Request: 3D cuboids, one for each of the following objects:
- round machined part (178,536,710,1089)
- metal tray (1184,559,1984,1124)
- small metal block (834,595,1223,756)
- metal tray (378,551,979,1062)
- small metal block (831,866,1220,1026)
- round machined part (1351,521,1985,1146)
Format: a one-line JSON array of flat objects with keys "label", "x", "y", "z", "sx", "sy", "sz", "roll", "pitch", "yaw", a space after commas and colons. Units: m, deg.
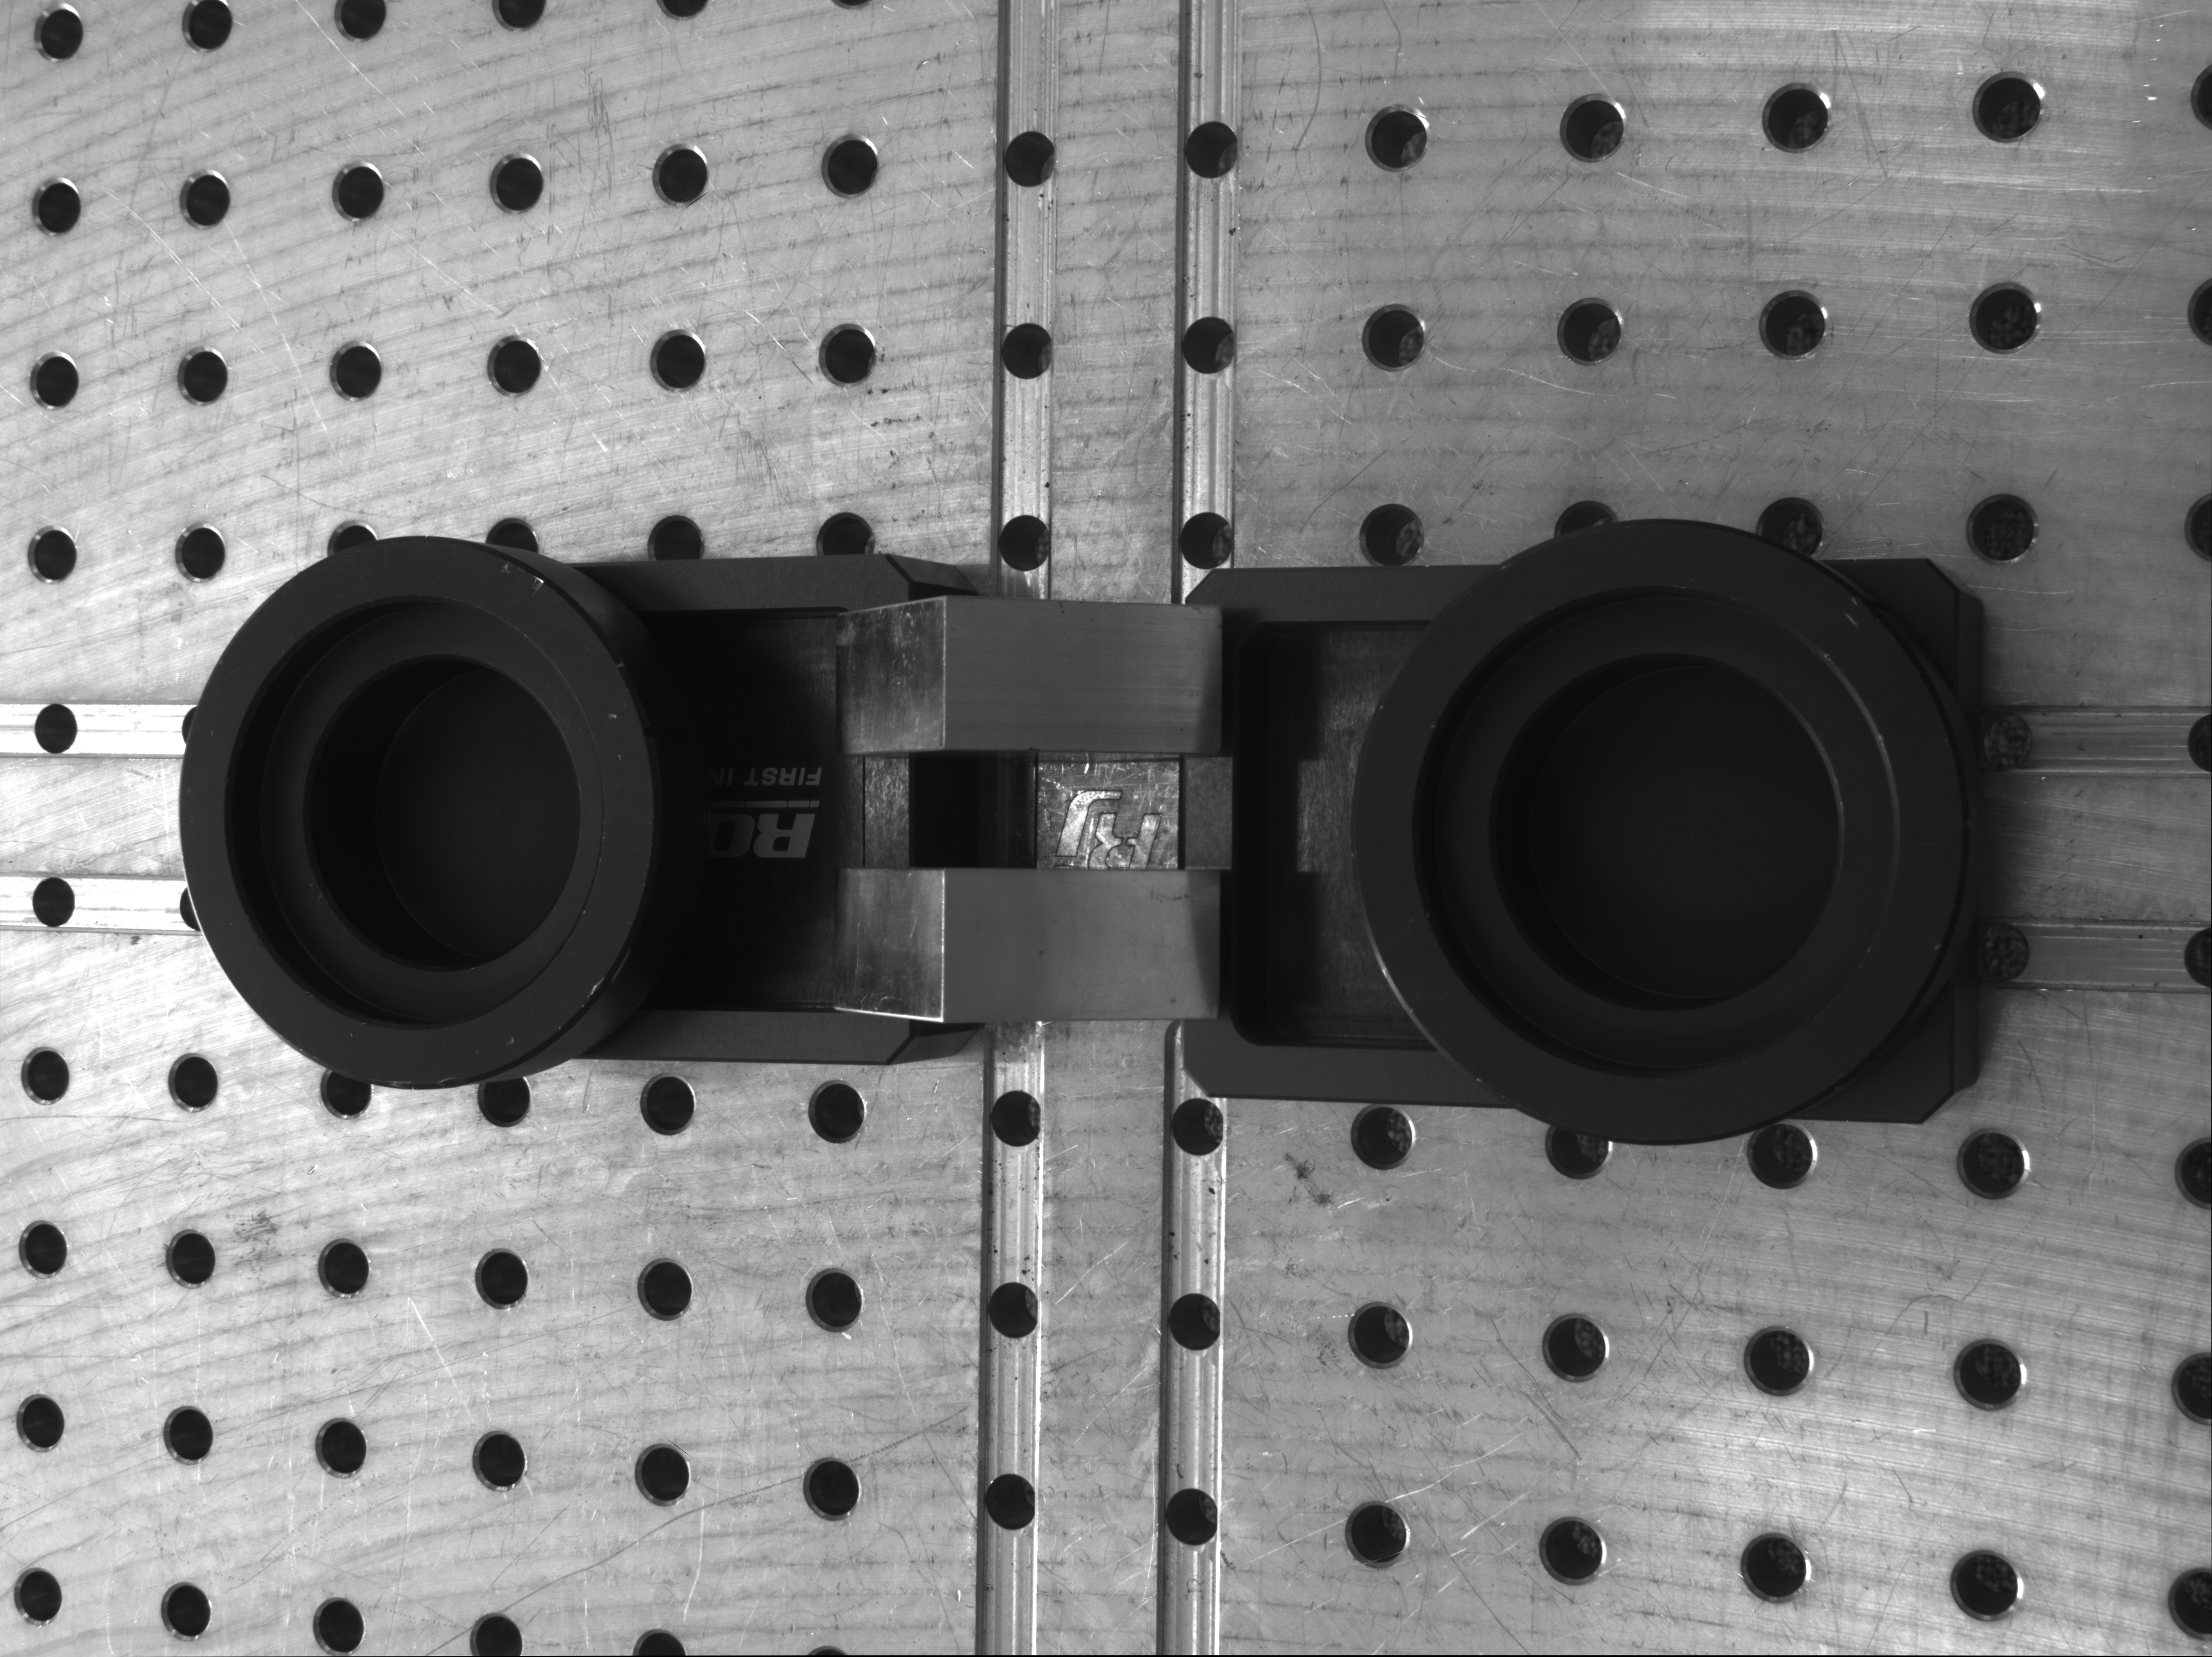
[{"label": "round machined part", "x": -0.116, "y": -0.003, "z": 0.668, "sx": 0.098, "sy": 0.042, "sz": 0.098, "roll": 0, "pitch": 90, "yaw": 20}, {"label": "metal tray", "x": 0.080, "y": 0.001, "z": 0.618, "sx": 0.130, "sy": 0.030, "sz": 0.090, "roll": 1, "pitch": 90, "yaw": 20}, {"label": "small metal block", "x": -0.014, "y": -0.025, "z": 0.625, "sx": 0.050, "sy": 0.050, "sz": 0.025, "roll": -179, "pitch": 90, "yaw": -65}, {"label": "metal tray", "x": -0.089, "y": -0.004, "z": 0.679, "sx": 0.130, "sy": 0.030, "sz": 0.090, "roll": -1, "pitch": 92, "yaw": 20}, {"label": "small metal block", "x": -0.014, "y": 0.019, "z": 0.625, "sx": 0.050, "sy": 0.050, "sz": 0.025, "roll": -179, "pitch": 90, "yaw": -65}, {"label": "round machined part", "x": 0.092, "y": 0.001, "z": 0.593, "sx": 0.098, "sy": 0.042, "sz": 0.098, "roll": 0, "pitch": 90, "yaw": 20}]
